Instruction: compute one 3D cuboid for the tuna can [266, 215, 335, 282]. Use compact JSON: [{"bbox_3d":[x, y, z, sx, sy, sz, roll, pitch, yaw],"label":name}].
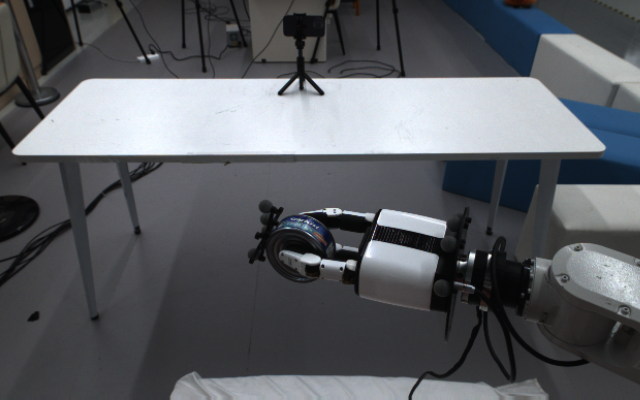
[{"bbox_3d":[-0.022,0.066,0.614,0.085,0.085,0.034,12,30,14],"label":"tuna can"}]
